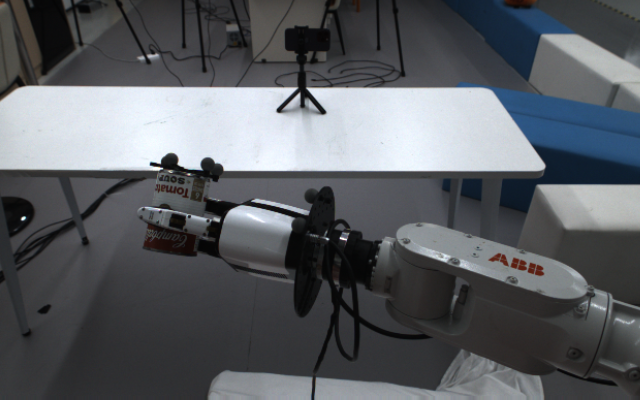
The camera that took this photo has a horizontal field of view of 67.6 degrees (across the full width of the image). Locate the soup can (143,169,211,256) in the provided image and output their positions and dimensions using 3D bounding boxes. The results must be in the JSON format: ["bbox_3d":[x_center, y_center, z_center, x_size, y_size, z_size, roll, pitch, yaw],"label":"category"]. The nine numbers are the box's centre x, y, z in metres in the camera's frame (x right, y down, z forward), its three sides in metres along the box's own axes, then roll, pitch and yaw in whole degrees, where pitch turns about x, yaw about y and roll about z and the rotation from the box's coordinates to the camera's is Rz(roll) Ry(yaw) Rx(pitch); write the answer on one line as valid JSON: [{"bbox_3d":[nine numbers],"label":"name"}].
[{"bbox_3d":[-0.182,0.019,0.621,0.067,0.101,0.067,9,-5,1],"label":"soup can"}]
